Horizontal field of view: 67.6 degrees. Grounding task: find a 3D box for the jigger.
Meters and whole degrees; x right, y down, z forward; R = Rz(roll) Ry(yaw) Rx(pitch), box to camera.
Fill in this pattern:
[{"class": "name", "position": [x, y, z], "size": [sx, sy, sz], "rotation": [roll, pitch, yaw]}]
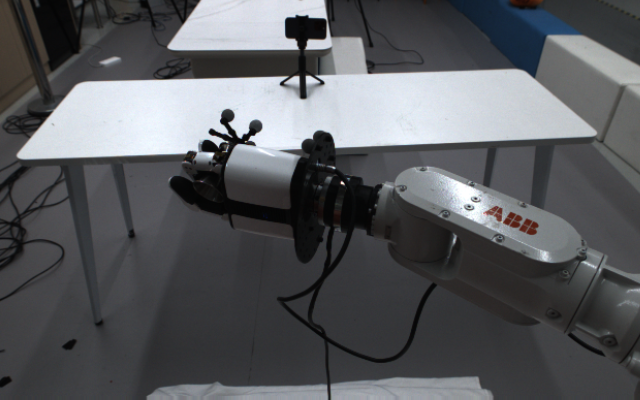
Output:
[{"class": "jigger", "position": [-0.125, -0.039, 0.617], "size": [0.043, 0.043, 0.071], "rotation": [15, 59, 18]}]
